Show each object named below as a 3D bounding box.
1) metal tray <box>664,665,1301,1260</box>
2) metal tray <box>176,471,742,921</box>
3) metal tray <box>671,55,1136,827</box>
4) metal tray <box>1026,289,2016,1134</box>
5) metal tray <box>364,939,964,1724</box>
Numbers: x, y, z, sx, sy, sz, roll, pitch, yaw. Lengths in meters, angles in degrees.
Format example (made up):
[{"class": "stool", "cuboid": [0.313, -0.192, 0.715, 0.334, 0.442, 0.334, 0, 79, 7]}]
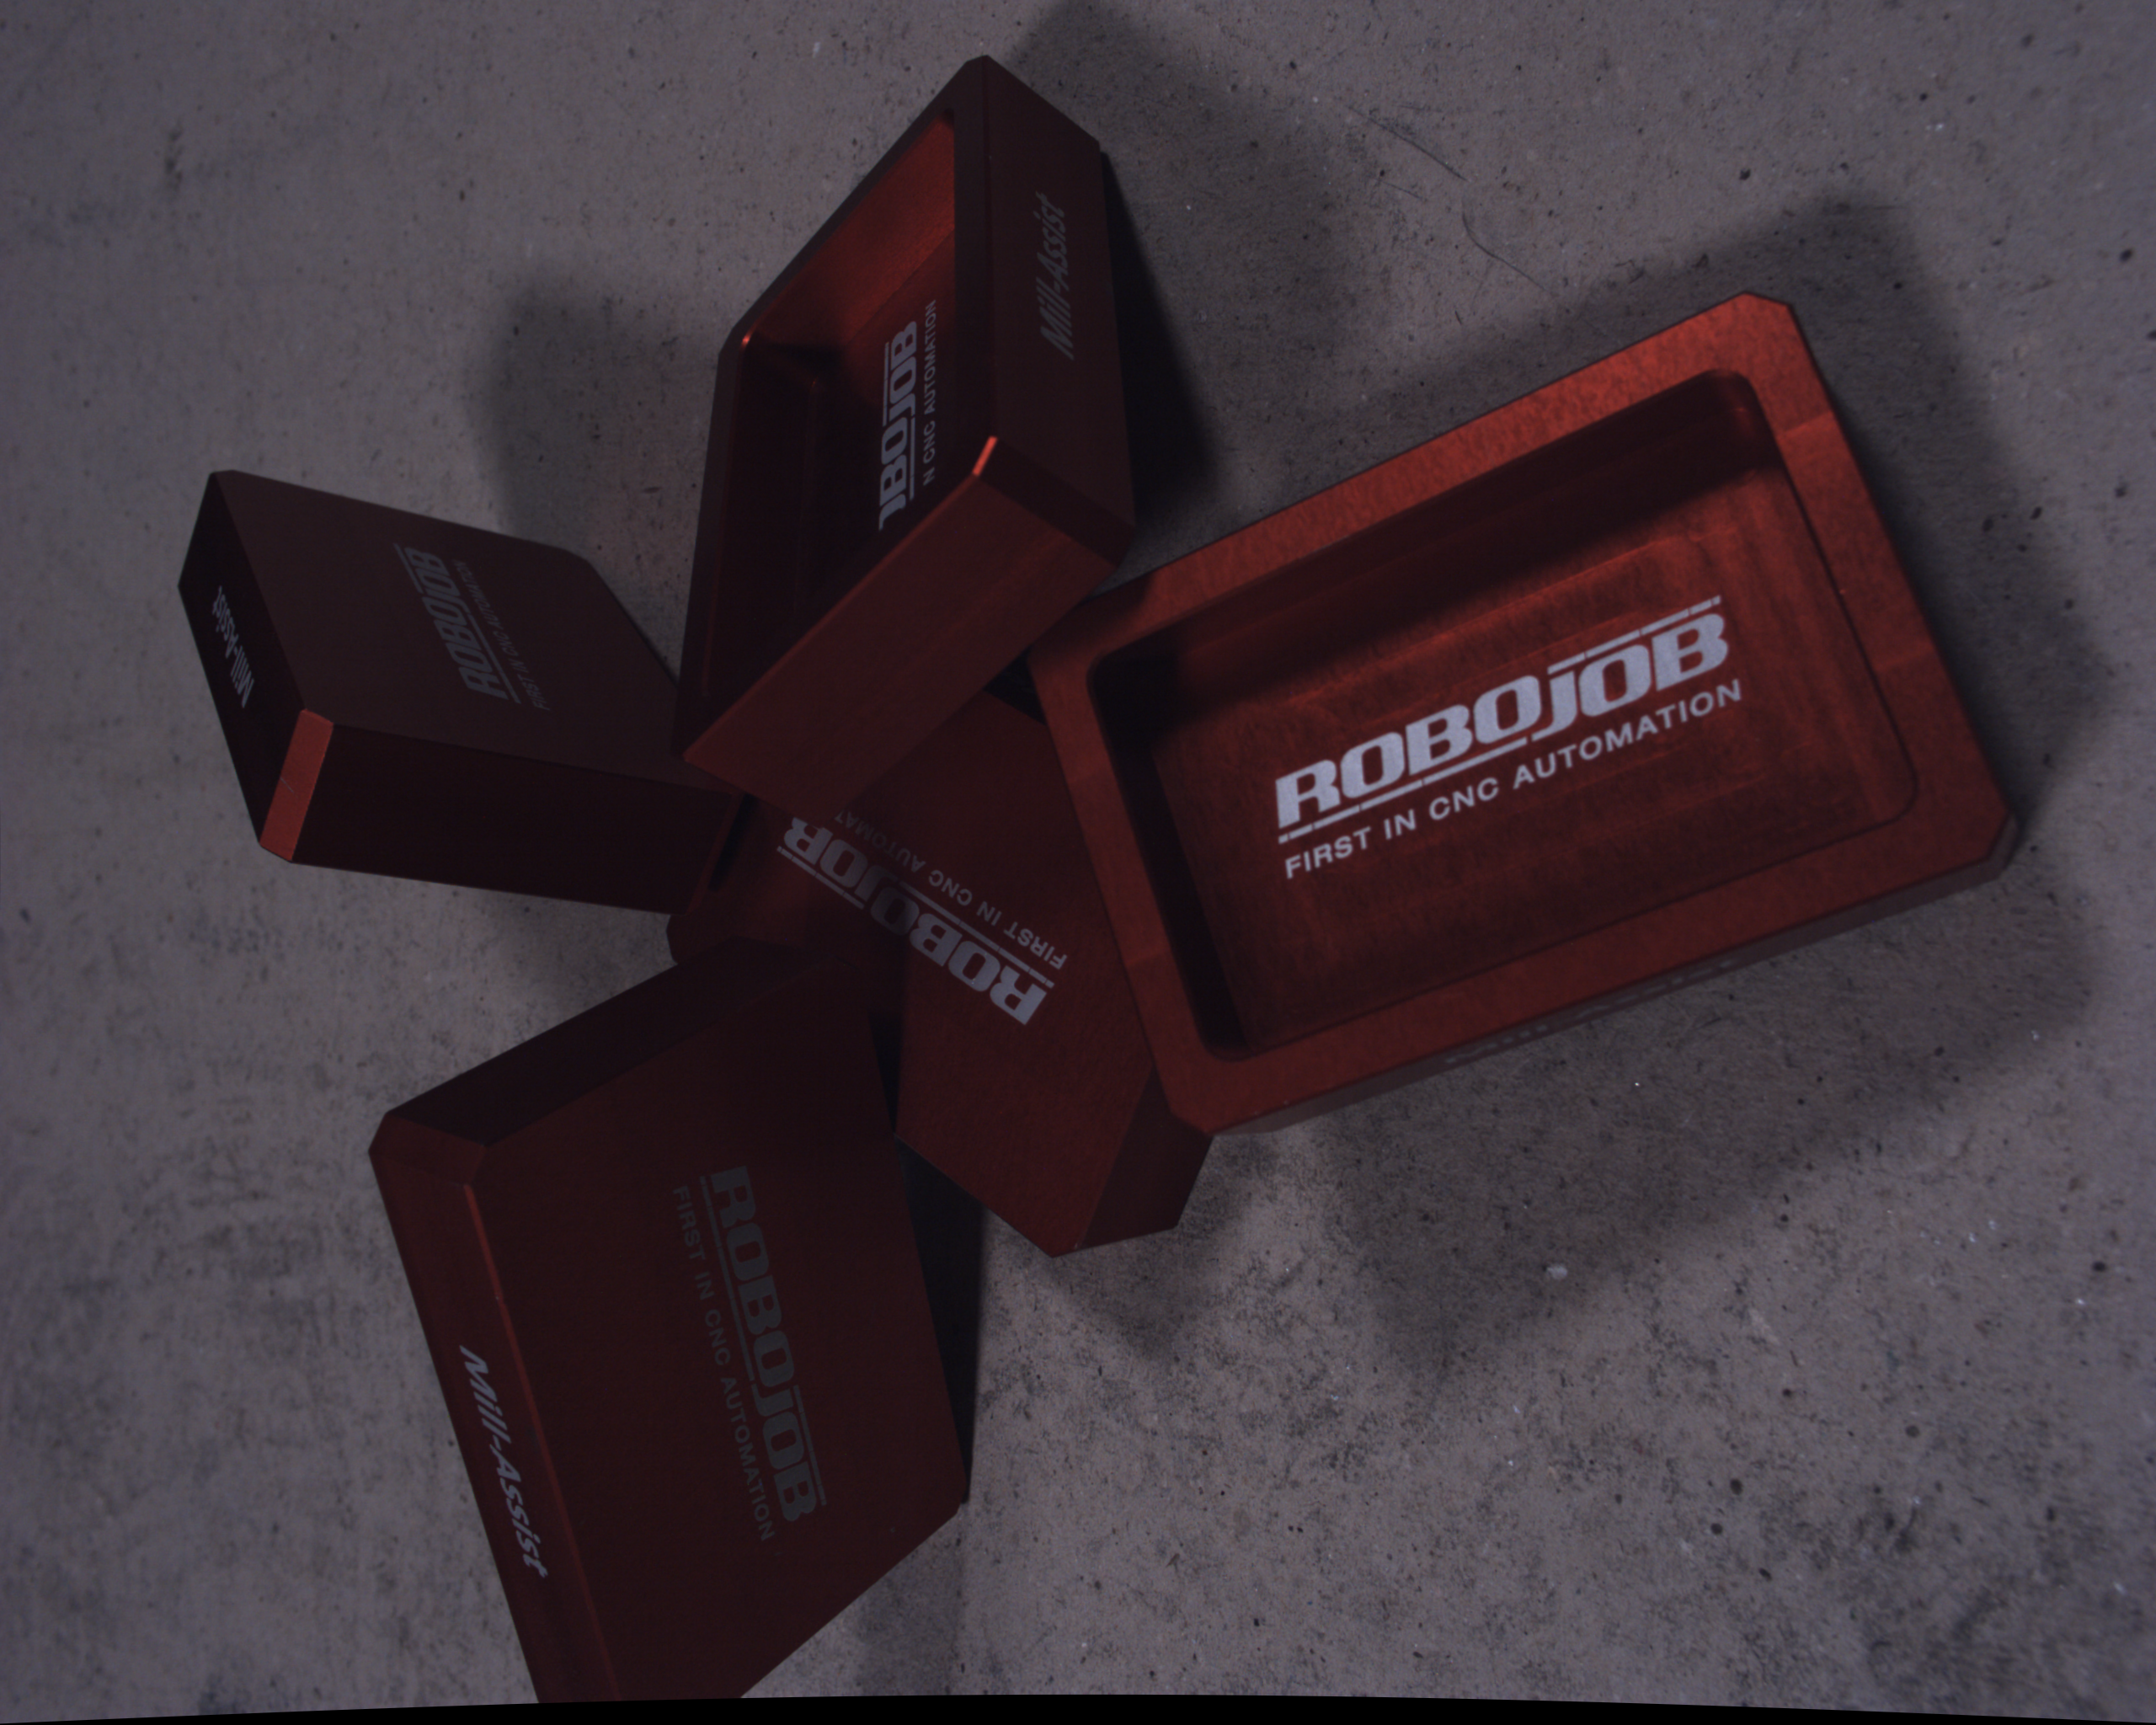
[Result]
[{"class": "metal tray", "cuboid": [-0.023, 0.008, 0.420, 0.130, 0.030, 0.089, 32, 110, 35]}, {"class": "metal tray", "cuboid": [-0.138, -0.038, 0.455, 0.130, 0.091, 0.030, 48, 120, 48]}, {"class": "metal tray", "cuboid": [-0.034, -0.081, 0.391, 0.090, 0.030, 0.130, -38, 38, 33]}, {"class": "metal tray", "cuboid": [0.065, -0.019, 0.327, 0.130, 0.030, 0.090, -23, 75, 22]}, {"class": "metal tray", "cuboid": [-0.073, 0.091, 0.396, 0.030, 0.091, 0.129, 7, 115, 40]}]
